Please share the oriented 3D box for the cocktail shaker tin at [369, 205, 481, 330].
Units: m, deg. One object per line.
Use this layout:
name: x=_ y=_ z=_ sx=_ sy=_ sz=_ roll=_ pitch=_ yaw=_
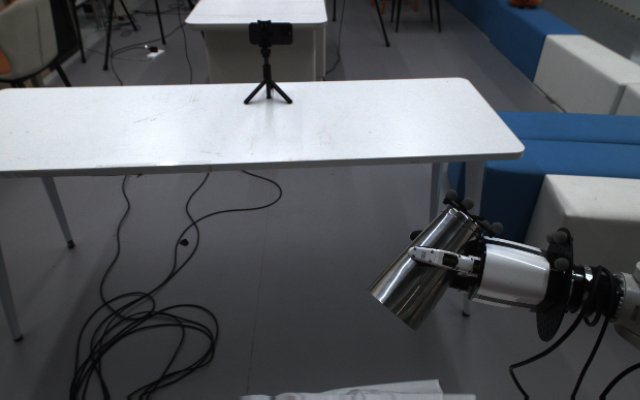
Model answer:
cocktail shaker tin: x=0.158 y=0.090 z=0.702 sx=0.170 sy=0.093 sz=0.093 roll=-48 pitch=49 yaw=-3
